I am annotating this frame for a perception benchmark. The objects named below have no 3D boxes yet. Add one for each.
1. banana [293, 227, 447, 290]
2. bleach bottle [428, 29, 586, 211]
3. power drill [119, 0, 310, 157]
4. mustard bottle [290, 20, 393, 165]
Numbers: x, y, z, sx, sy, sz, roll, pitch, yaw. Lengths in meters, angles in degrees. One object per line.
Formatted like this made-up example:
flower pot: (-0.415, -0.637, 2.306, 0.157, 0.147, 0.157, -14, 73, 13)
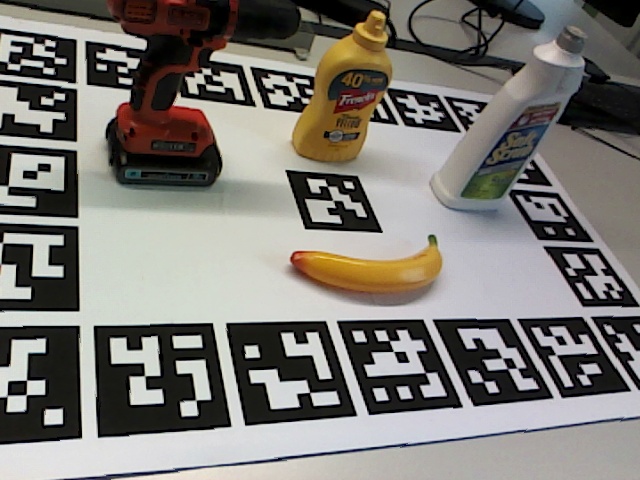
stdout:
banana: (0.066, 0.021, 0.668, 0.196, 0.039, 0.074, -4, 51, -25)
bleach bottle: (0.237, -0.147, 0.776, 0.102, 0.251, 0.068, 9, 44, -19)
power drill: (-0.113, -0.173, 0.635, 0.183, 0.187, 0.057, -5, 50, -25)
mustard bottle: (0.036, -0.180, 0.761, 0.095, 0.191, 0.059, -3, 49, -31)
